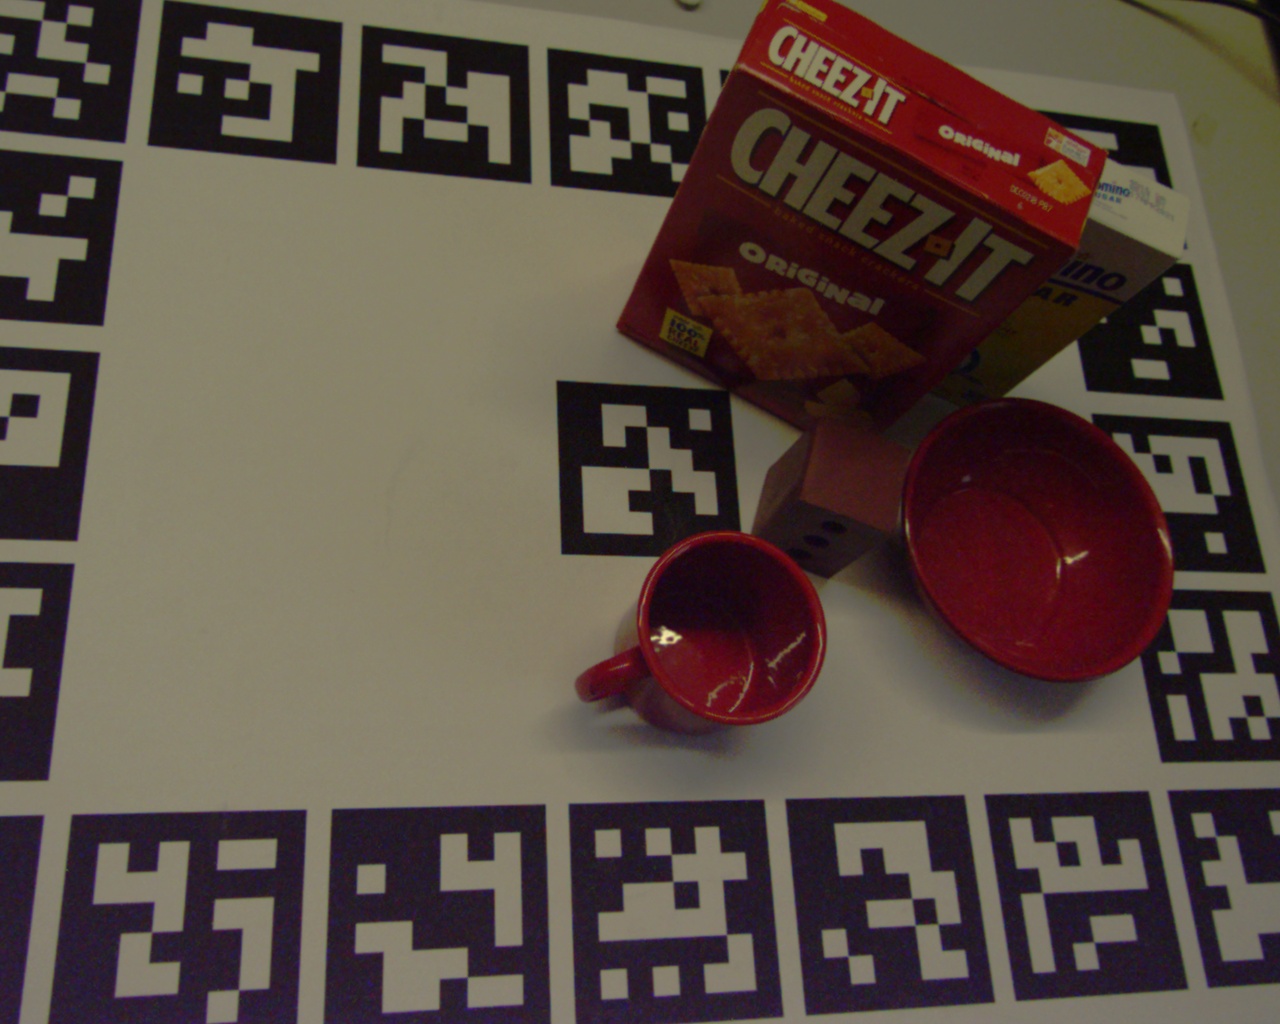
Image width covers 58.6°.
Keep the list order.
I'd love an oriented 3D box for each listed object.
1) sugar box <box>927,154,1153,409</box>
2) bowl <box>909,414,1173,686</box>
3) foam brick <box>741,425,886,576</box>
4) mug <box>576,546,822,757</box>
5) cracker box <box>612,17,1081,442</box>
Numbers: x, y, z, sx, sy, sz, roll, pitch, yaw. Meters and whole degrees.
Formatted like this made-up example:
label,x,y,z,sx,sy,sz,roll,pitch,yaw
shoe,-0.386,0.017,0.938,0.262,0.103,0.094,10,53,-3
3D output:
label,x,y,z,sx,sy,sz,roll,pitch,yaw
sugar box,0.195,-0.127,0.650,0.092,0.177,0.045,22,66,-6
bowl,0.217,0.028,0.653,0.160,0.055,0.162,4,70,-12
foam brick,0.096,-0.004,0.639,0.052,0.078,0.051,16,66,-8
mug,0.024,0.078,0.580,0.116,0.081,0.094,-7,64,-15
cracker box,0.093,-0.124,0.604,0.164,0.214,0.072,30,64,-3
